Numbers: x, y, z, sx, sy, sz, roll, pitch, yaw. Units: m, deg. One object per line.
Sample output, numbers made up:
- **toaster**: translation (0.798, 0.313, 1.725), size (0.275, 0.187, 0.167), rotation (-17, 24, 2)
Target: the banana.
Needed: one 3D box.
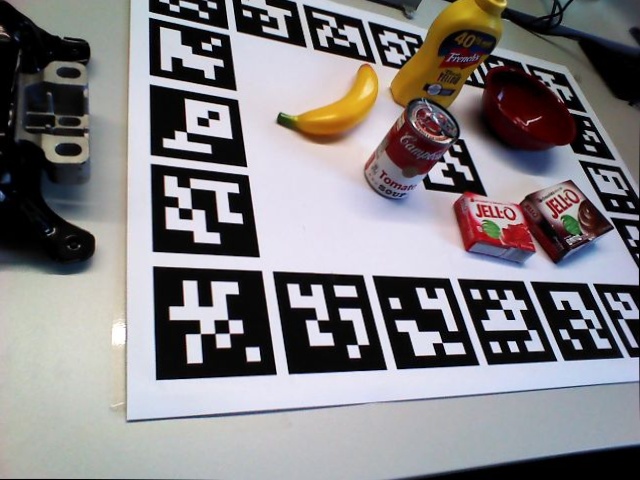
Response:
- **banana**: translation (0.027, -0.179, 0.654), size (0.074, 0.039, 0.196), rotation (32, 49, 10)

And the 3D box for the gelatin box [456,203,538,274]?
- **gelatin box**: translation (0.216, -0.002, 0.631), size (0.089, 0.030, 0.073), rotation (10, 58, -19)

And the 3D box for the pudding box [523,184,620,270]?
- **pudding box**: translation (0.337, -0.019, 0.696), size (0.113, 0.039, 0.090), rotation (-20, 74, -35)

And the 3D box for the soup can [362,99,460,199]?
- **soup can**: translation (0.099, -0.103, 0.584), size (0.068, 0.103, 0.067), rotation (15, 51, -19)

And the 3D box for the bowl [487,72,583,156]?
- **bowl**: translation (0.314, -0.181, 0.790), size (0.161, 0.055, 0.160), rotation (12, 53, -17)

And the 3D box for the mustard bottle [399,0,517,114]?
- **mustard bottle**: translation (0.188, -0.250, 0.667), size (0.096, 0.193, 0.058), rotation (4, 54, -24)
